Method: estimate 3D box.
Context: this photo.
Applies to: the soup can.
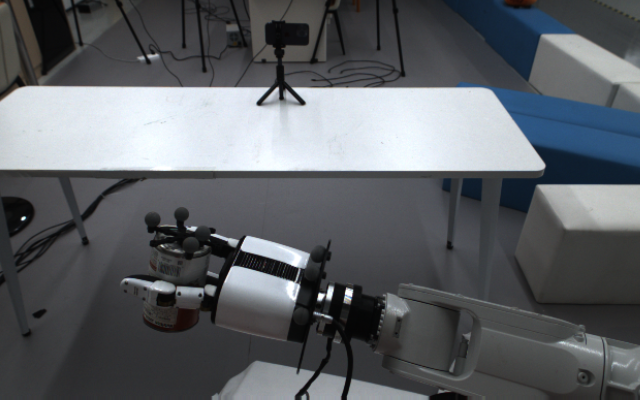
[{"bbox_3d":[-0.166,0.095,0.567,0.067,0.101,0.067,13,18,-4],"label":"soup can"}]
